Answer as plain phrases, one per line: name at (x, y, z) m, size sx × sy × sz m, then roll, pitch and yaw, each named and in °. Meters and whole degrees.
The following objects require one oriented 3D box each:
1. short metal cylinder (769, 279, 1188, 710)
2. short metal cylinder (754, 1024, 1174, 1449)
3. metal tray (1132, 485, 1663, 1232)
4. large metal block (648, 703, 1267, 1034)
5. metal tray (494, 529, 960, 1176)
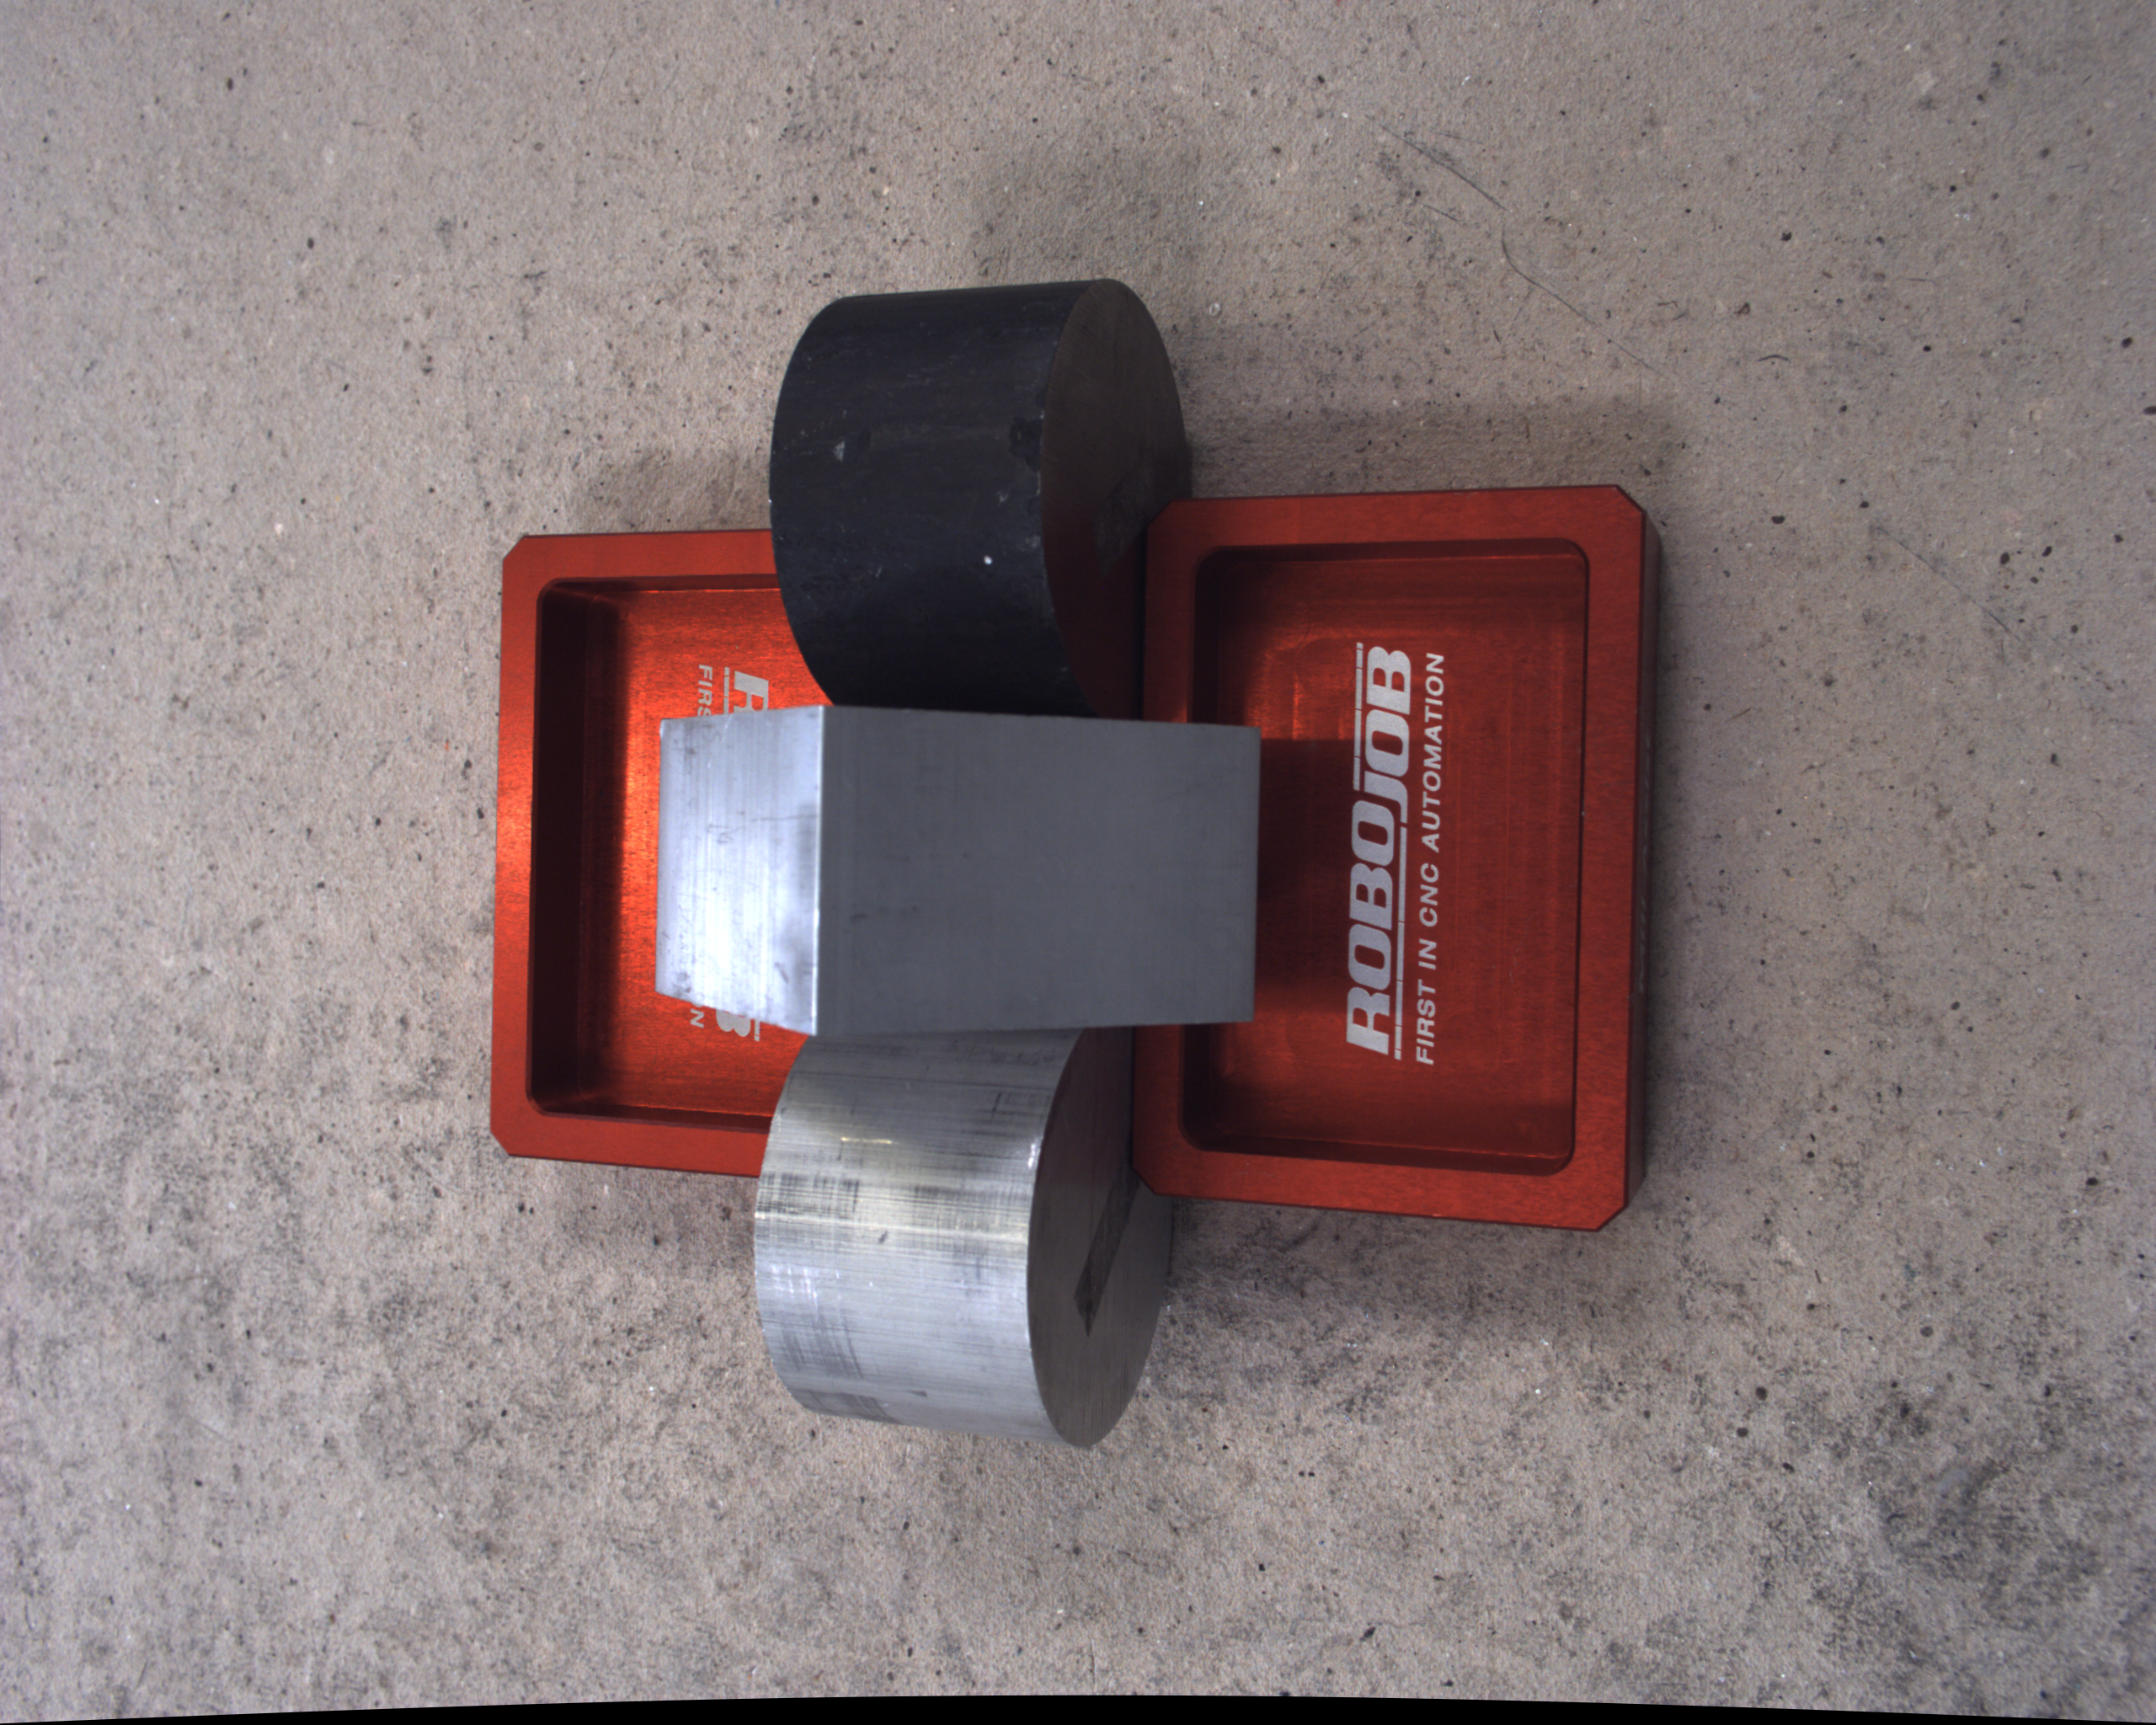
short metal cylinder at (-0.015, -0.065, 0.386) m, size 0.050 × 0.080 × 0.079 m, roll 2°, pitch 91°, yaw 20°
short metal cylinder at (-0.018, 0.065, 0.387) m, size 0.050 × 0.080 × 0.079 m, roll 2°, pitch 91°, yaw 20°
metal tray at (0.059, -0.002, 0.387) m, size 0.090 × 0.030 × 0.129 m, roll 2°, pitch 91°, yaw 19°
large metal block at (-0.023, 0.000, 0.367) m, size 0.080 × 0.081 × 0.050 m, roll 3°, pitch 93°, yaw 60°
metal tray at (-0.073, -0.002, 0.434) m, size 0.090 × 0.030 × 0.129 m, roll 2°, pitch 91°, yaw 19°
